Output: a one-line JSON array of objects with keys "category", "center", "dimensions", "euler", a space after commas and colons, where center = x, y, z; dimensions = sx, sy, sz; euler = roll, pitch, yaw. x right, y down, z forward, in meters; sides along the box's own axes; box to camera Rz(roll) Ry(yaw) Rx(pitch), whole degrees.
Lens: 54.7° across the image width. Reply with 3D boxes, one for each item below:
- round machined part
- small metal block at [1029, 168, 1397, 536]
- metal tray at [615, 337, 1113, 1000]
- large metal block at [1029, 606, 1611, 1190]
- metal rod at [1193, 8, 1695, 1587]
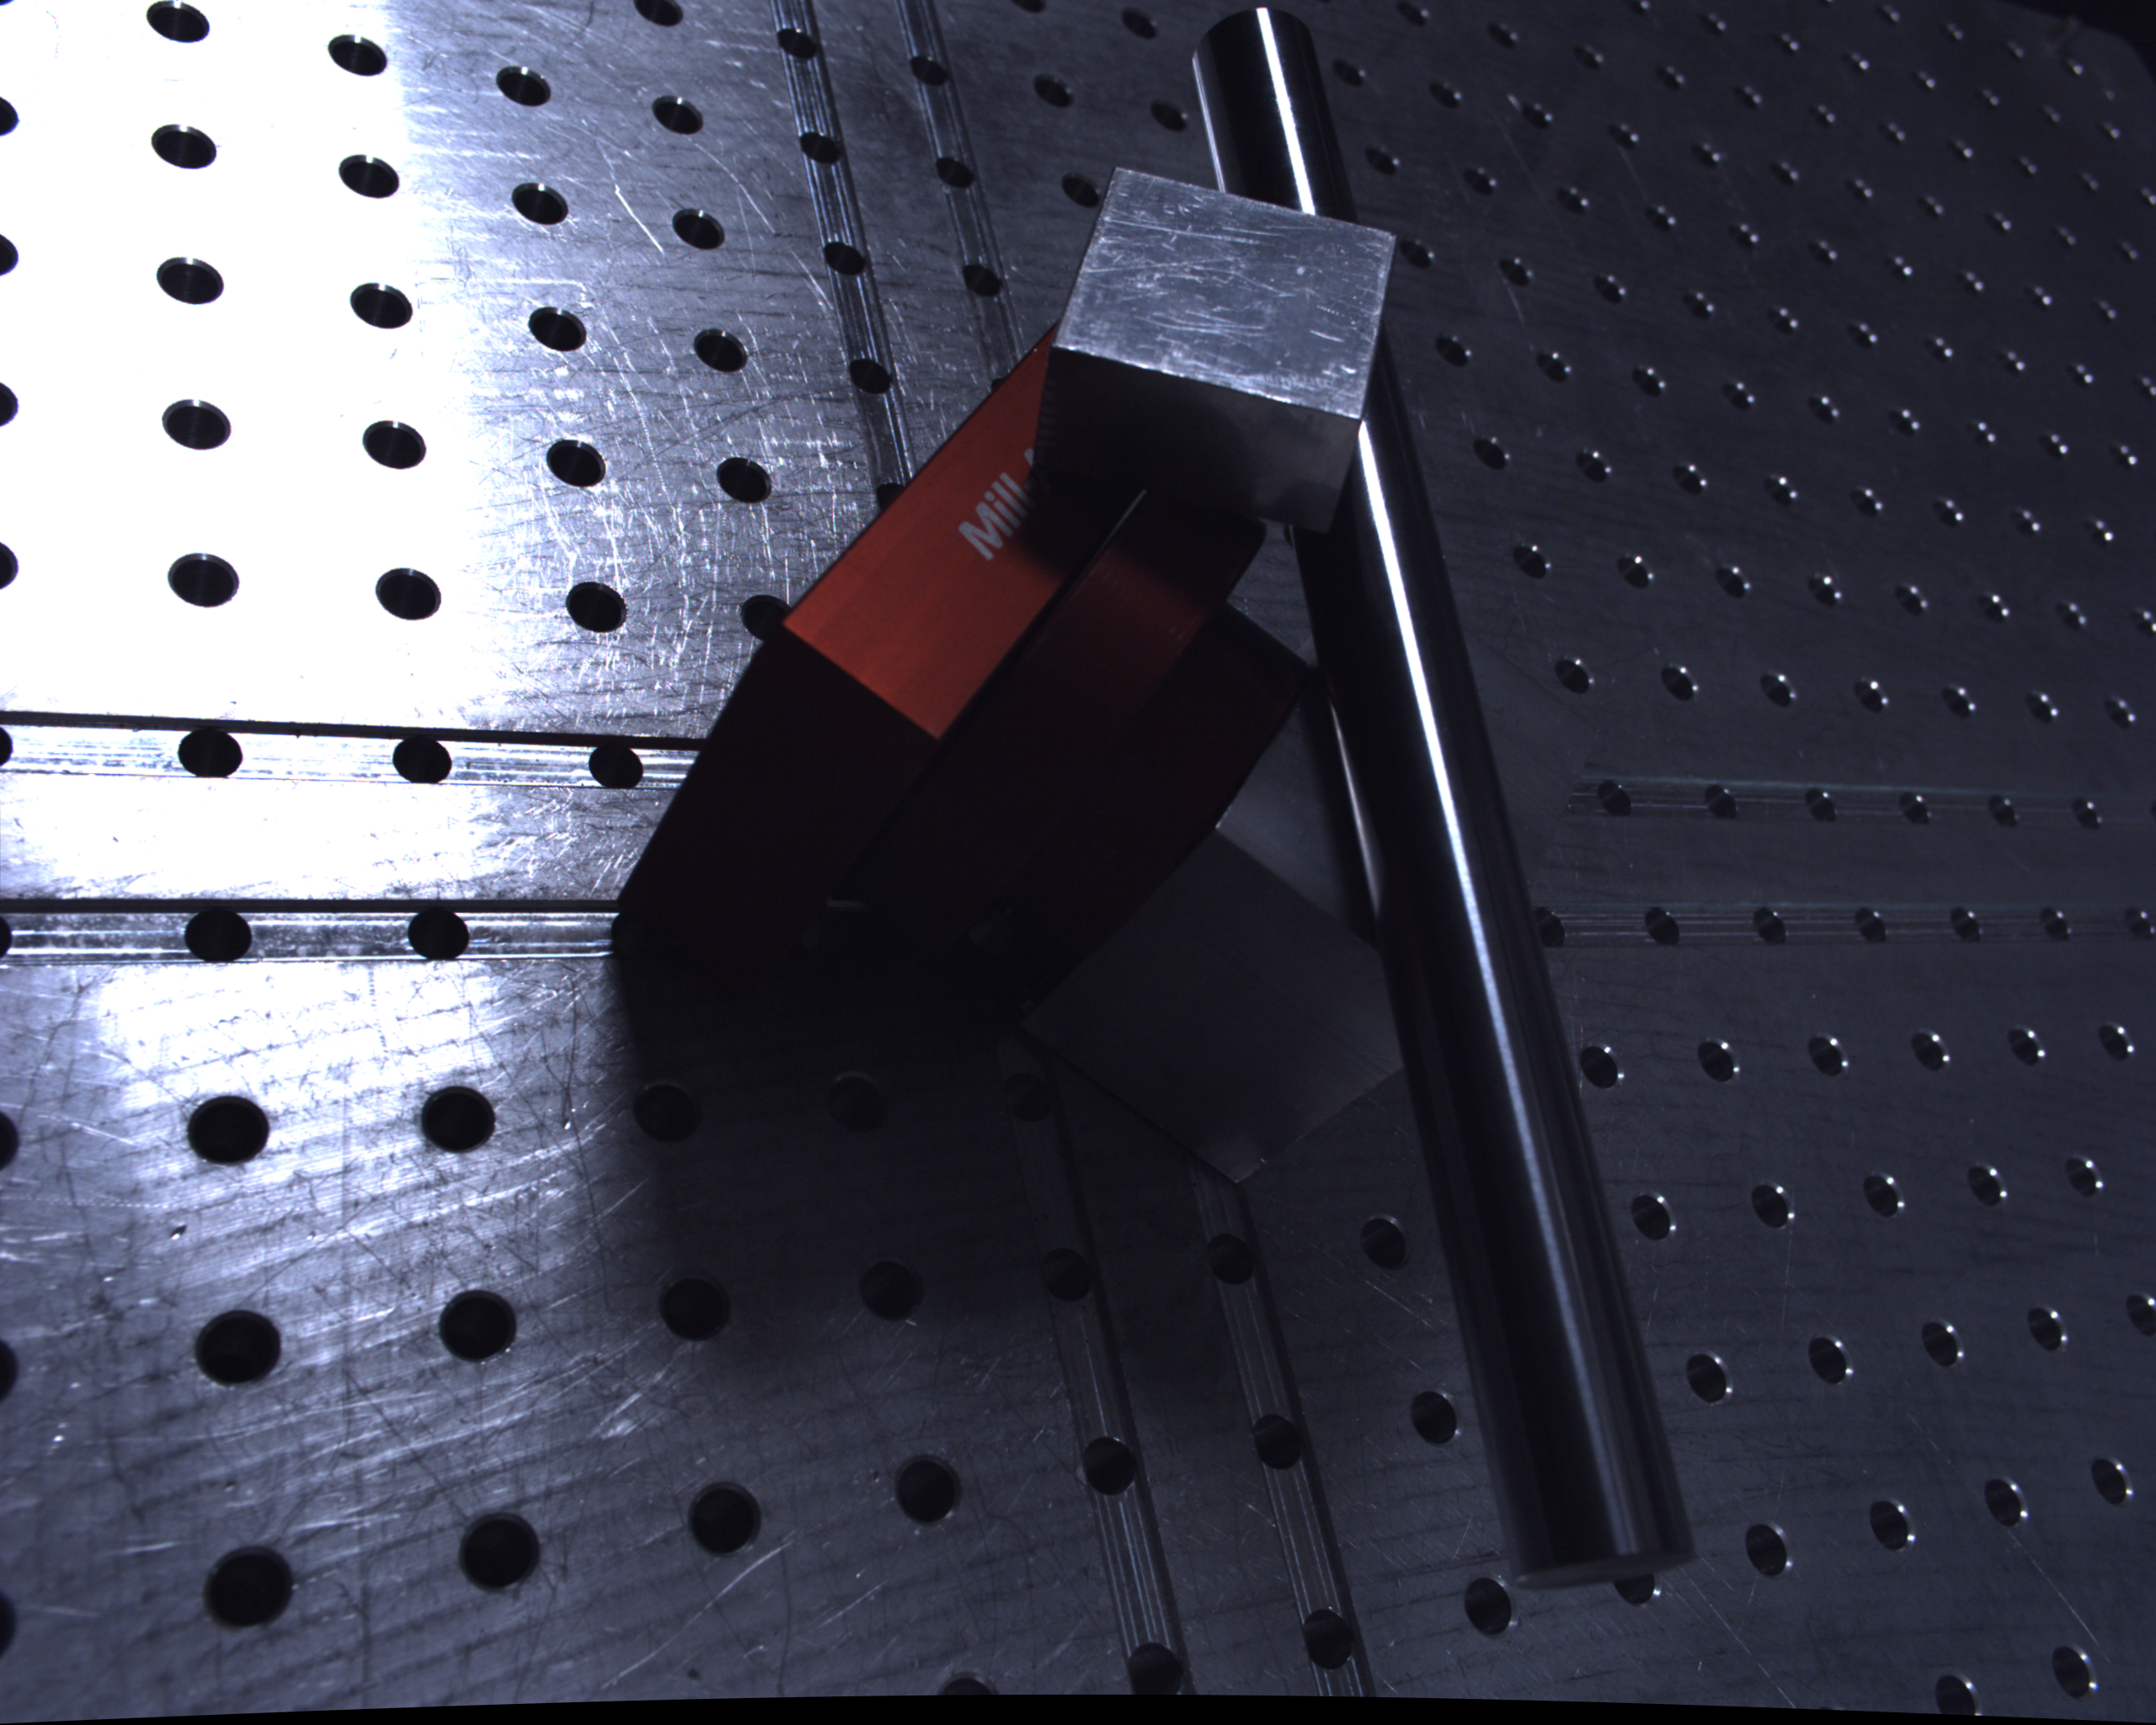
[{"category": "round machined part", "center": [0.000, -0.022, 0.381], "dimensions": [0.042, 0.097, 0.098], "euler": [37, 51, -5]}, {"category": "small metal block", "center": [0.023, -0.086, 0.349], "dimensions": [0.050, 0.025, 0.050], "euler": [14, 52, 2]}, {"category": "metal tray", "center": [-0.025, -0.044, 0.381], "dimensions": [0.030, 0.090, 0.130], "euler": [37, 51, -4]}, {"category": "large metal block", "center": [0.045, 0.004, 0.393], "dimensions": [0.050, 0.080, 0.080], "euler": [37, 51, -4]}, {"category": "metal rod", "center": [0.054, -0.034, 0.357], "dimensions": [0.025, 0.025, 0.299], "euler": [7, 59, -25]}]
